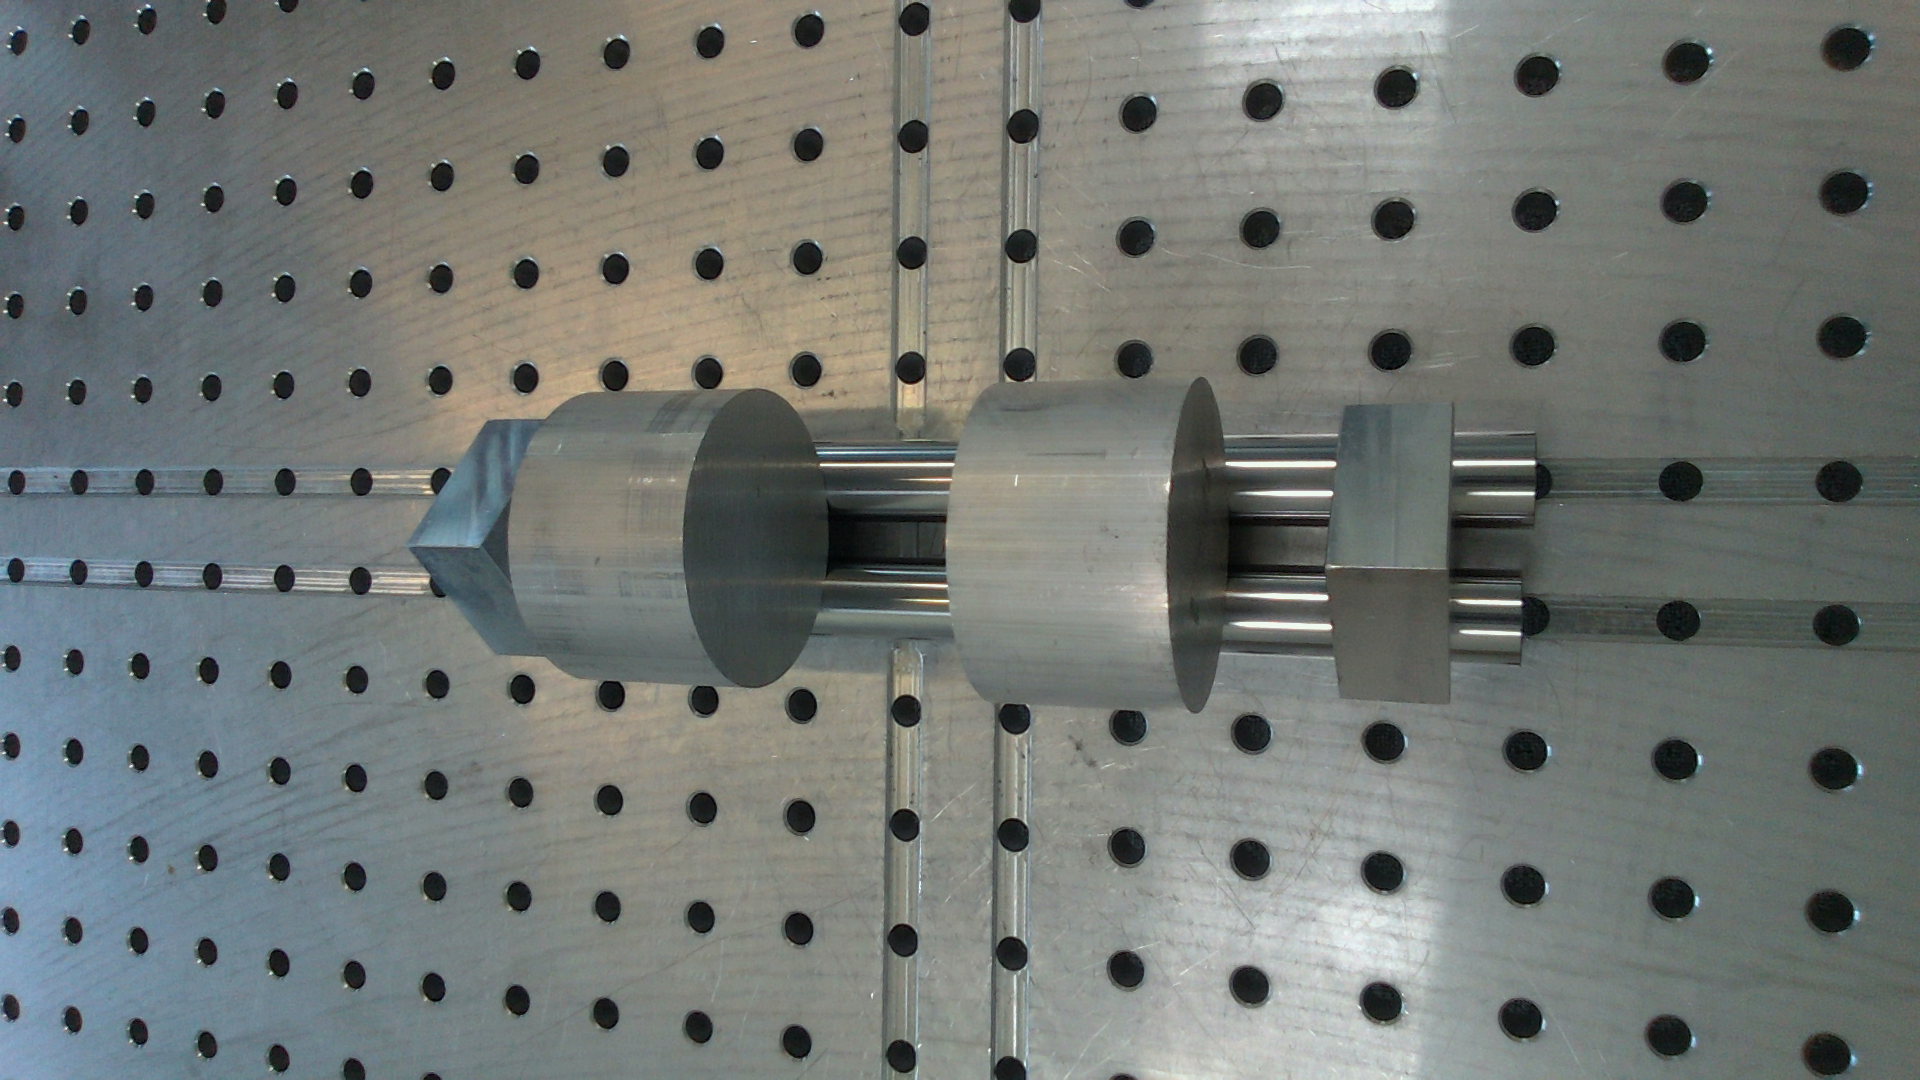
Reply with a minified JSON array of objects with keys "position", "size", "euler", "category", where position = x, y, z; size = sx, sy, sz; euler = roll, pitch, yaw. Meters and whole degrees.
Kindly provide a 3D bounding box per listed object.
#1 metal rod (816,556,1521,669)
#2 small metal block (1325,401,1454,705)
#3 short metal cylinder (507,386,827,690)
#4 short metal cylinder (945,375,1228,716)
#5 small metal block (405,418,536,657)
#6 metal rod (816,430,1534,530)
[{"position":[0.001,0.018,0.398],"size":[0.299,0.025,0.025],"euler":[1,90,20],"category":"metal rod"},{"position":[0.103,0.003,0.324],"size":[0.025,0.050,0.050],"euler":[1,49,21],"category":"small metal block"},{"position":[-0.076,-0.001,0.373],"size":[0.050,0.080,0.080],"euler":[1,90,20],"category":"short metal cylinder"},{"position":[0.034,0.001,0.333],"size":[0.050,0.080,0.080],"euler":[1,90,20],"category":"short metal cylinder"},{"position":[-0.129,-0.001,0.408],"size":[0.025,0.050,0.050],"euler":[1,48,20],"category":"small metal block"},{"position":[0.003,-0.017,0.397],"size":[0.299,0.025,0.025],"euler":[1,90,20],"category":"metal rod"}]
